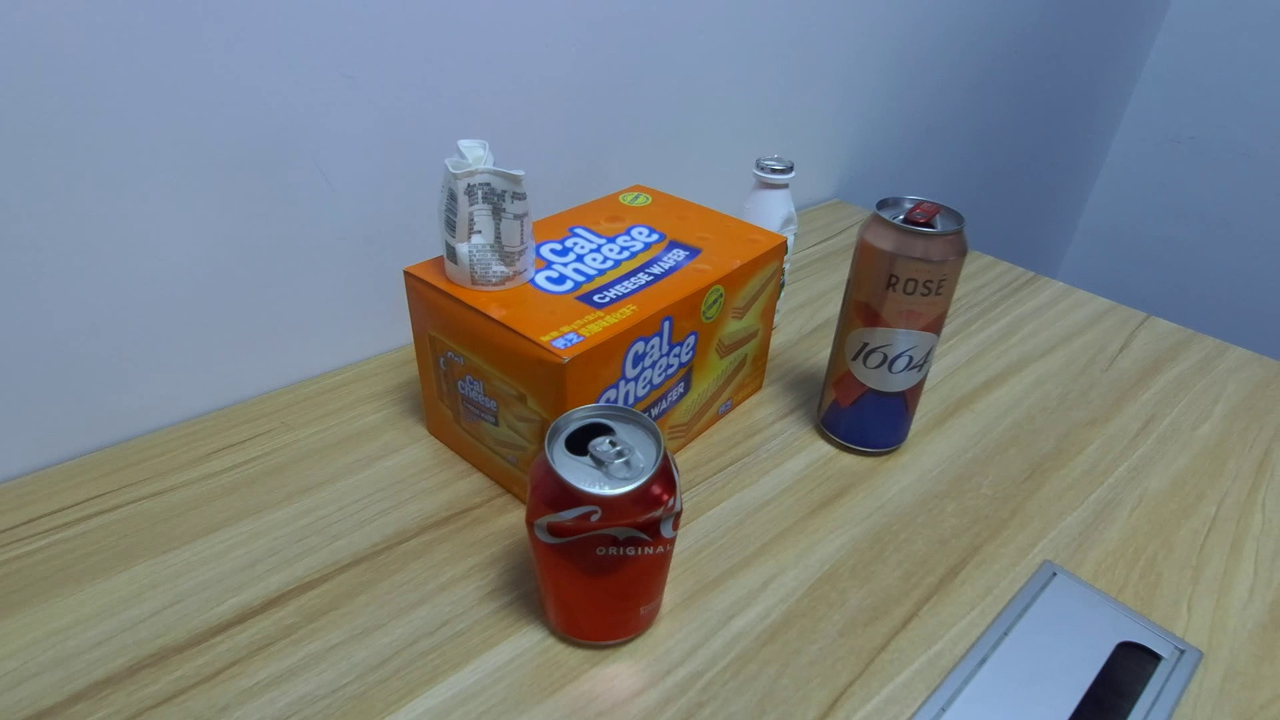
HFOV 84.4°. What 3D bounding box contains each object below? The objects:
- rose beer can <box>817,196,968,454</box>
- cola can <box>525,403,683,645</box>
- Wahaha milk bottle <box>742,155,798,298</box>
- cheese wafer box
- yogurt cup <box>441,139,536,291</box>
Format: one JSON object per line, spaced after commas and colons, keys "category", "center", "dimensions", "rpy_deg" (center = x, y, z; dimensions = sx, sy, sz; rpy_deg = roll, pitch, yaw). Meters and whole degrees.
{"category": "rose beer can", "center": [0.167, -0.018, 0.475], "dimensions": [0.069, 0.169, 0.068], "rpy_deg": [4, 32, -2]}
{"category": "cola can", "center": [-0.016, 0.082, 0.353], "dimensions": [0.072, 0.117, 0.065], "rpy_deg": [3, 33, 2]}
{"category": "Wahaha milk bottle", "center": [0.103, -0.089, 0.604], "dimensions": [0.053, 0.137, 0.053], "rpy_deg": [4, 33, -2]}
{"category": "cheese wafer box", "center": [-0.022, -0.018, 0.494], "dimensions": [0.147, 0.129, 0.222], "rpy_deg": [28, 41, 32]}
{"category": "yogurt cup", "center": [-0.089, -0.083, 0.409], "dimensions": [0.055, 0.072, 0.055], "rpy_deg": [1, 34, -4]}
